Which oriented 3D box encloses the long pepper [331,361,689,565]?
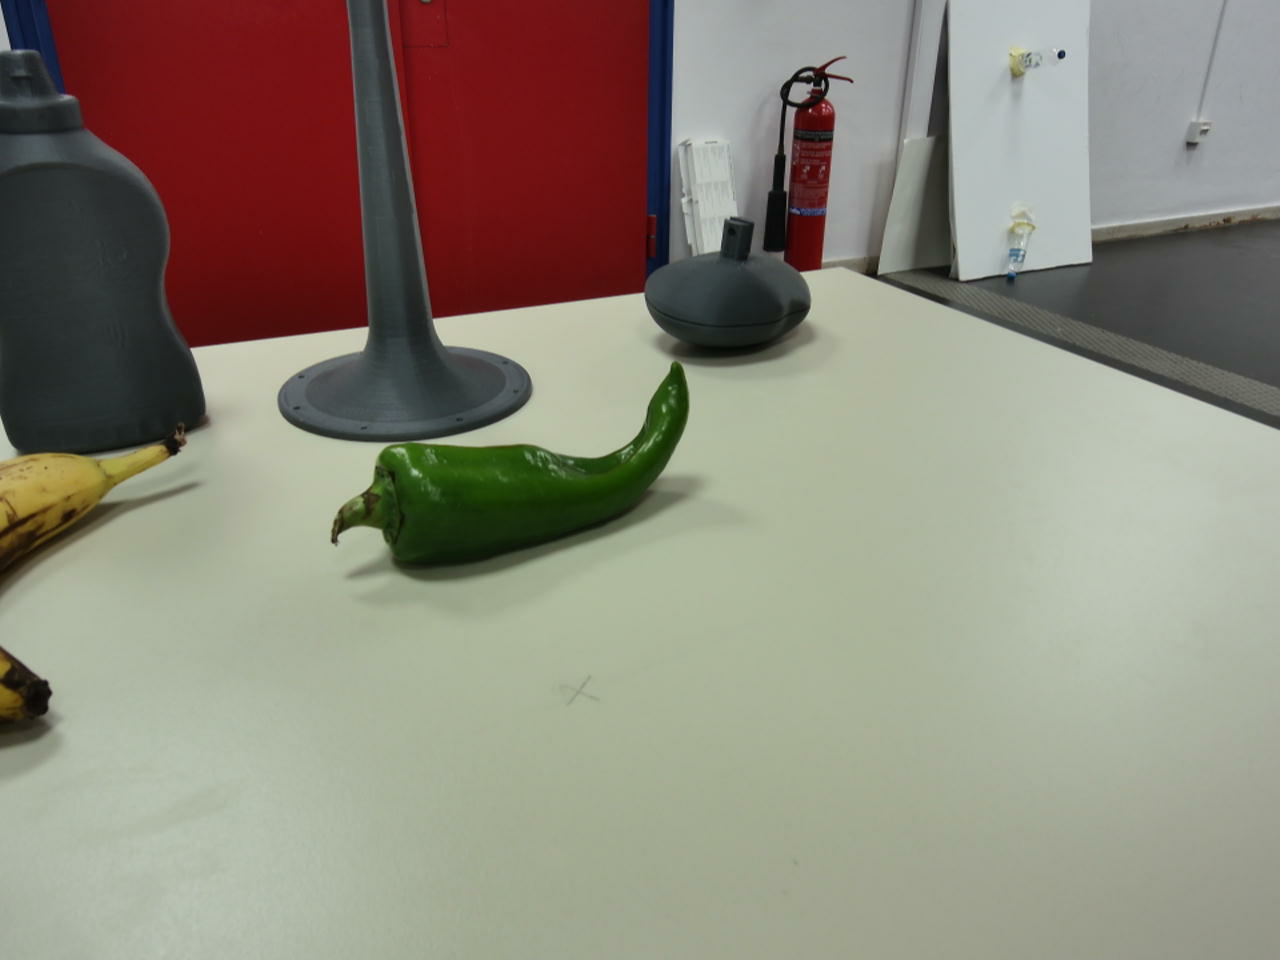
[{"bbox_3d":[-0.049,-0.006,0.440,0.175,0.065,0.058,-12,27,-26],"label":"long pepper"}]
